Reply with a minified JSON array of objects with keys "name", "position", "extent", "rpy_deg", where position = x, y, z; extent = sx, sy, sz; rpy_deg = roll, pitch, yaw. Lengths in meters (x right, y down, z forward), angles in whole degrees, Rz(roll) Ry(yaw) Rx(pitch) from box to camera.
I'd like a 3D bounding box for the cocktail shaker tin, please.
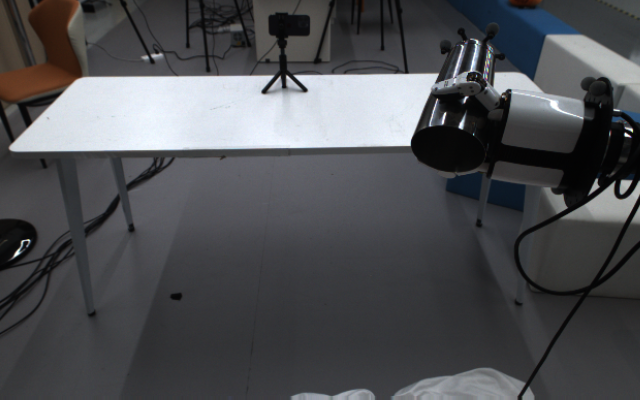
[{"name":"cocktail shaker tin","position":[0.185,-0.132,0.640],"extent":[0.093,0.093,0.170],"rpy_deg":[13,60,16]}]
